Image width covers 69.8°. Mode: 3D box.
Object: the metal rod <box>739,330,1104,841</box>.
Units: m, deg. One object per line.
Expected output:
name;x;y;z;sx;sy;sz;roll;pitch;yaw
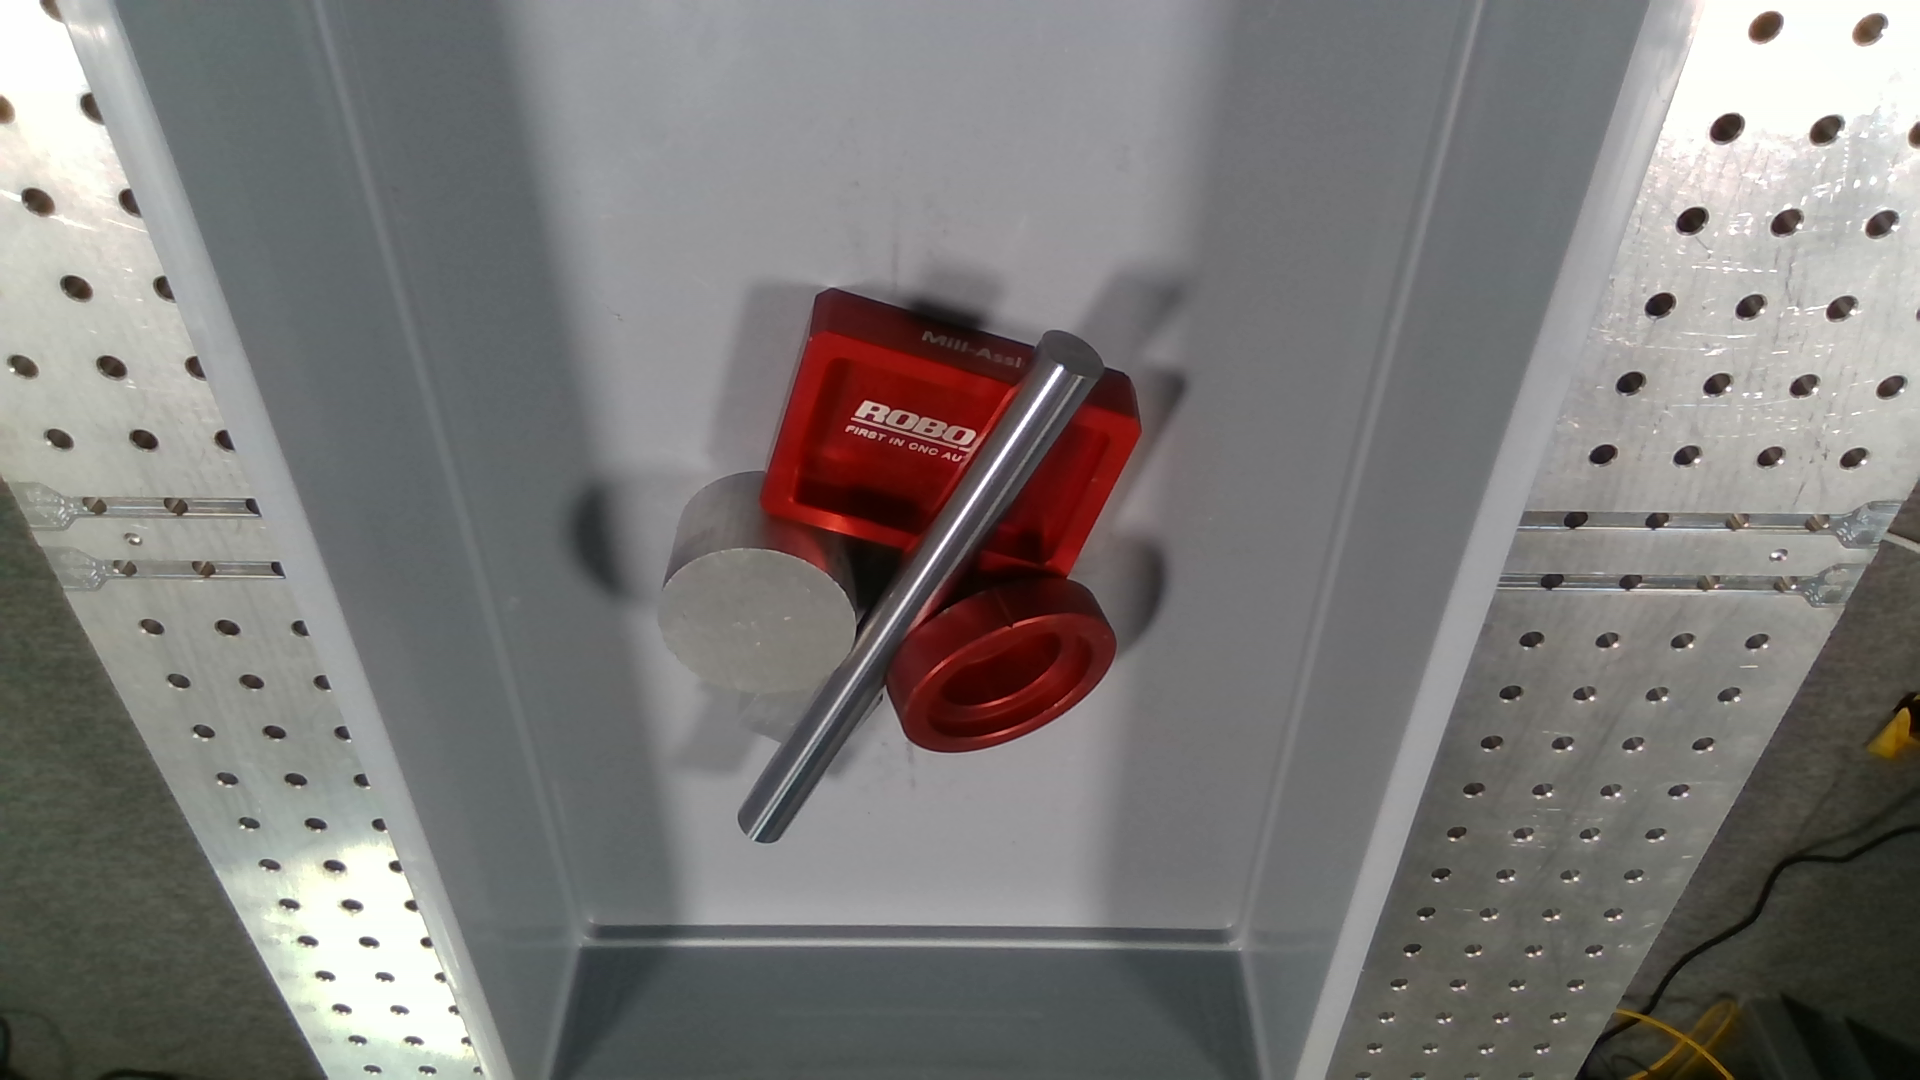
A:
metal rod;-0.028;0.035;0.569;0.025;0.025;0.301;21;129;-17

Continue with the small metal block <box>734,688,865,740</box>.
small metal block;-0.069;0.070;0.637;0.050;0.025;0.050;25;126;-20

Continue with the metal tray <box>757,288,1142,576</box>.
metal tray;-0.005;-0.038;0.541;0.130;0.030;0.090;14;129;-12

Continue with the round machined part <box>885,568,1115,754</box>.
round machined part;0.014;0.047;0.590;0.098;0.042;0.098;-18;146;-12

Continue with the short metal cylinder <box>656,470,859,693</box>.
short metal cylinder;-0.082;0.018;0.575;0.080;0.050;0.080;0;130;0
